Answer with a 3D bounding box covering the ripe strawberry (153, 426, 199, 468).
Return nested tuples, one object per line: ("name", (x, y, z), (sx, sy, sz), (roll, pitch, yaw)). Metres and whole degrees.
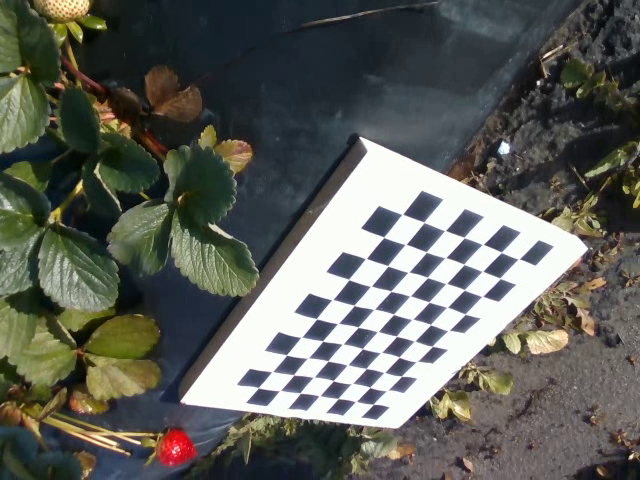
("ripe strawberry", (-0.130, 0.192, 0.607), (0.044, 0.040, 0.037), (9, 40, -14))
